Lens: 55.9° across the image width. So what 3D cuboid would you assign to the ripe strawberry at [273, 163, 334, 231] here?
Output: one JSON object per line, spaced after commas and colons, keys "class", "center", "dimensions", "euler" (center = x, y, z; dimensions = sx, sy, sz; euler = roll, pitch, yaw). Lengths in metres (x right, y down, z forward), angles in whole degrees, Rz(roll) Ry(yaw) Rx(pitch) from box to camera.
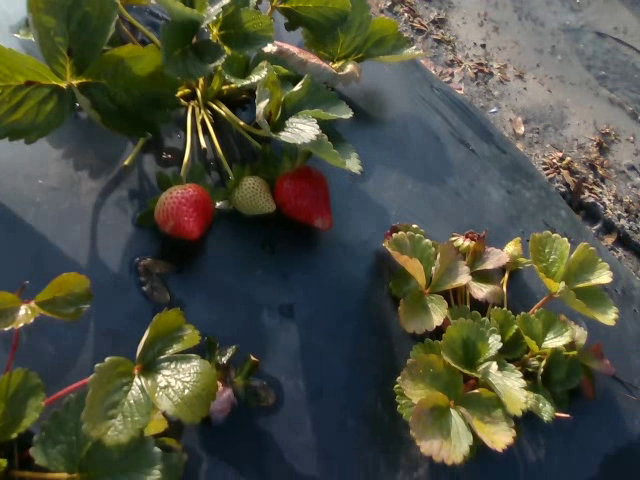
{"class": "ripe strawberry", "center": [-0.010, -0.030, 0.466], "dimensions": [0.048, 0.065, 0.050], "euler": [-31, -11, 11]}
